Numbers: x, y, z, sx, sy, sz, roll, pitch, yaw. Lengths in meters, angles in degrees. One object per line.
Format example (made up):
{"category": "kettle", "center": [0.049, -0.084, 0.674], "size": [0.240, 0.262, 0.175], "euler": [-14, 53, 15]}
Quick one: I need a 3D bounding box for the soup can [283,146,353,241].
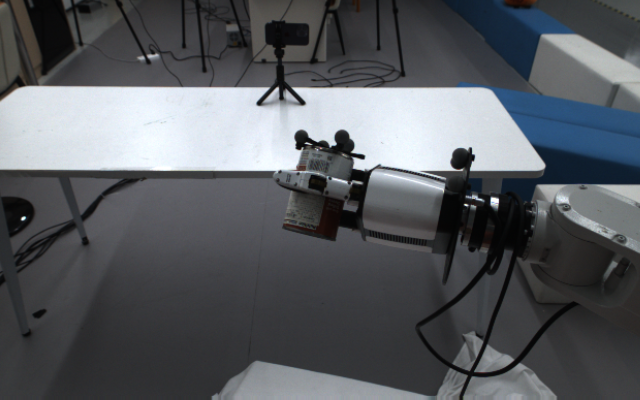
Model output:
{"category": "soup can", "center": [0.000, -0.007, 0.586], "size": [0.067, 0.101, 0.067], "euler": [13, -6, 1]}
